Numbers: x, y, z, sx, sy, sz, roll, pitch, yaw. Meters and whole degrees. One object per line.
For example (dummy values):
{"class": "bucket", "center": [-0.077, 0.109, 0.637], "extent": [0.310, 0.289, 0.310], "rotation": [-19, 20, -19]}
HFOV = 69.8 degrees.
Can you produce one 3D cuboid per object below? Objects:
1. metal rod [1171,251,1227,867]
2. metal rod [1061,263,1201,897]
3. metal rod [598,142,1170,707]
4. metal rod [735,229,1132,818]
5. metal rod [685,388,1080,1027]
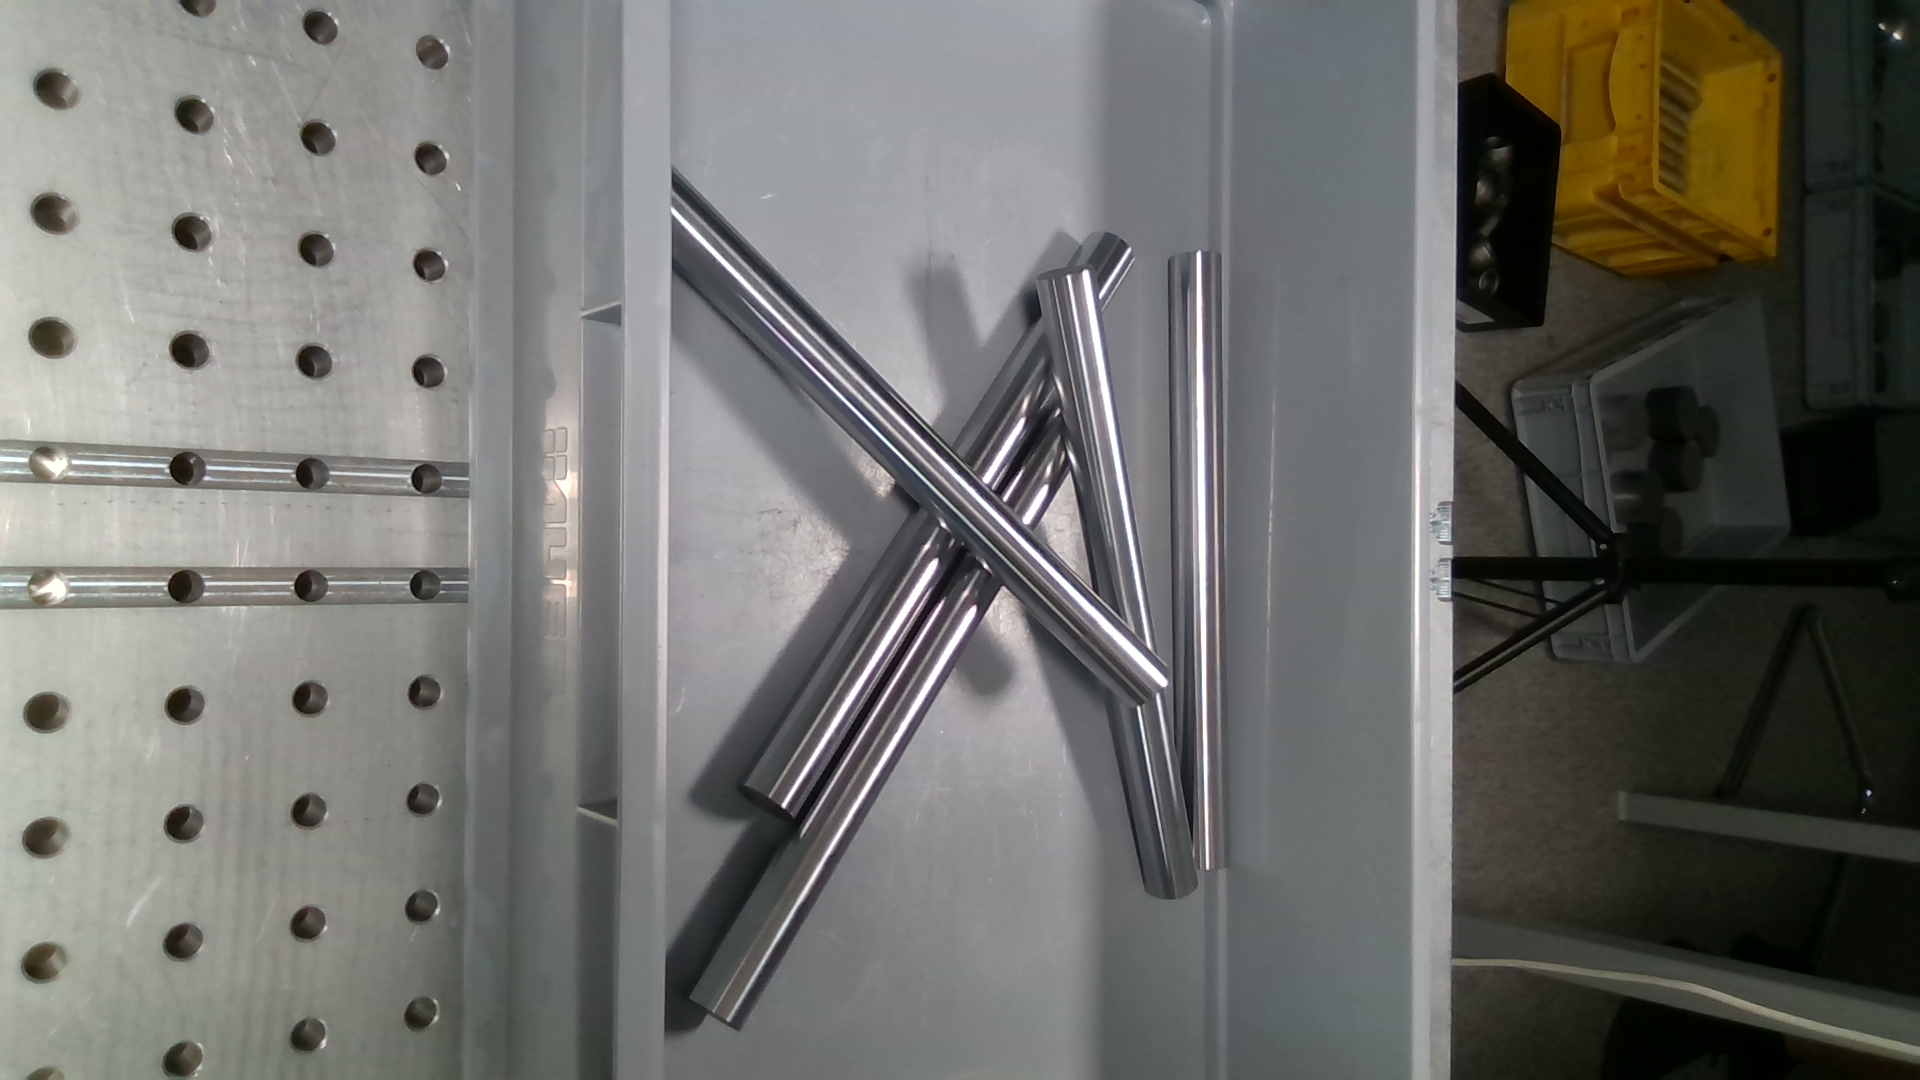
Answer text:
{"class": "metal rod", "center": [0.118, 0.010, 0.682], "extent": [0.025, 0.025, 0.300], "rotation": [-1, 91, -40]}
{"class": "metal rod", "center": [0.080, 0.025, 0.630], "extent": [0.025, 0.025, 0.300], "rotation": [-23, 111, -38]}
{"class": "metal rod", "center": [-0.019, -0.034, 0.540], "extent": [0.301, 0.025, 0.025], "rotation": [44, 63, -22]}
{"class": "metal rod", "center": [-0.003, -0.018, 0.580], "extent": [0.025, 0.025, 0.299], "rotation": [46, 62, -30]}
{"class": "metal rod", "center": [-0.019, 0.056, 0.567], "extent": [0.025, 0.025, 0.299], "rotation": [46, 62, -30]}
